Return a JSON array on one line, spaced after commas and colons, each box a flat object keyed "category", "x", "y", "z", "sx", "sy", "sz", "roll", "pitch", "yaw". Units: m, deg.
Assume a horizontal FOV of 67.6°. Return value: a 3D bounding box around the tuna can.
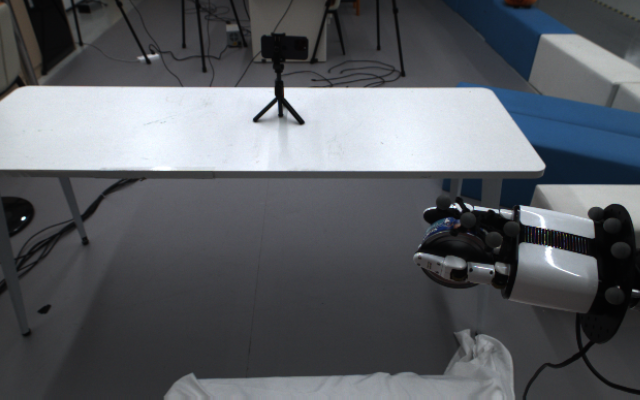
[{"category": "tuna can", "x": 0.166, "y": 0.060, "z": 0.581, "sx": 0.085, "sy": 0.085, "sz": 0.034, "roll": 12, "pitch": 33, "yaw": 14}]
